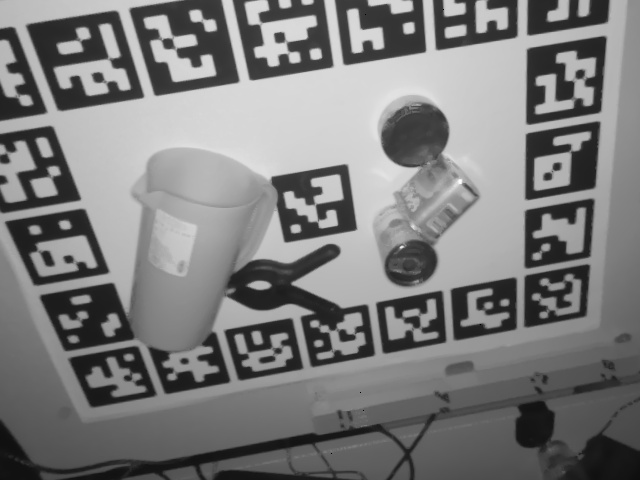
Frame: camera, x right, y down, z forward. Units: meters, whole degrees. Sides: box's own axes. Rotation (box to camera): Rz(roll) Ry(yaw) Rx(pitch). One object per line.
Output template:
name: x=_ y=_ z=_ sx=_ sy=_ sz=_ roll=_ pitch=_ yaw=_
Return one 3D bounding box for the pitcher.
pitcher: x=-0.149 y=0.028 z=0.847 sx=0.191 sy=0.133 sz=0.239 roll=-2 pitch=129 yaw=-29

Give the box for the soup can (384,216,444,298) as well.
soup can: x=0.124 y=0.020 z=0.894 sx=0.068 sy=0.102 sz=0.067 roll=-3 pitch=117 yaw=-6

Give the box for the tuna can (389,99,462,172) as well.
tuna can: x=0.128 y=-0.129 z=0.850 sx=0.086 sy=0.034 sz=0.085 roll=-3 pitch=117 yaw=-4

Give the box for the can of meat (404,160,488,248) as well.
can of meat: x=0.160 y=-0.044 z=0.858 sx=0.083 sy=0.102 sz=0.058 roll=-43 pitch=113 yaw=13

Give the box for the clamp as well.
clamp: x=-0.025 y=0.074 z=0.956 sx=0.165 sy=0.037 sz=0.121 roll=-6 pitch=123 yaw=1
